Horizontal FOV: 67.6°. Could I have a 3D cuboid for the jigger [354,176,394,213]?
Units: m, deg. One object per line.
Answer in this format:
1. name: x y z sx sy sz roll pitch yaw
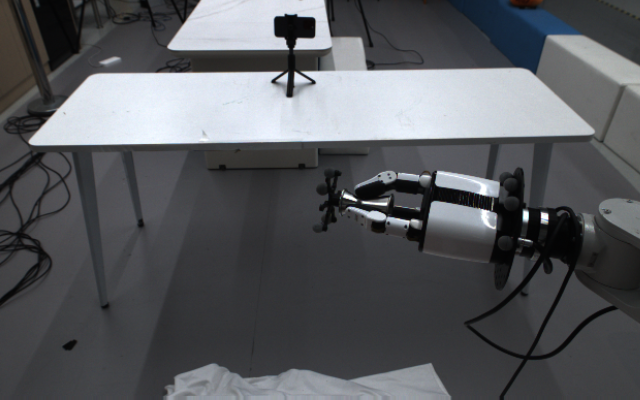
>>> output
1. jigger: 0.070 0.005 0.663 0.071 0.043 0.043 9 35 17
